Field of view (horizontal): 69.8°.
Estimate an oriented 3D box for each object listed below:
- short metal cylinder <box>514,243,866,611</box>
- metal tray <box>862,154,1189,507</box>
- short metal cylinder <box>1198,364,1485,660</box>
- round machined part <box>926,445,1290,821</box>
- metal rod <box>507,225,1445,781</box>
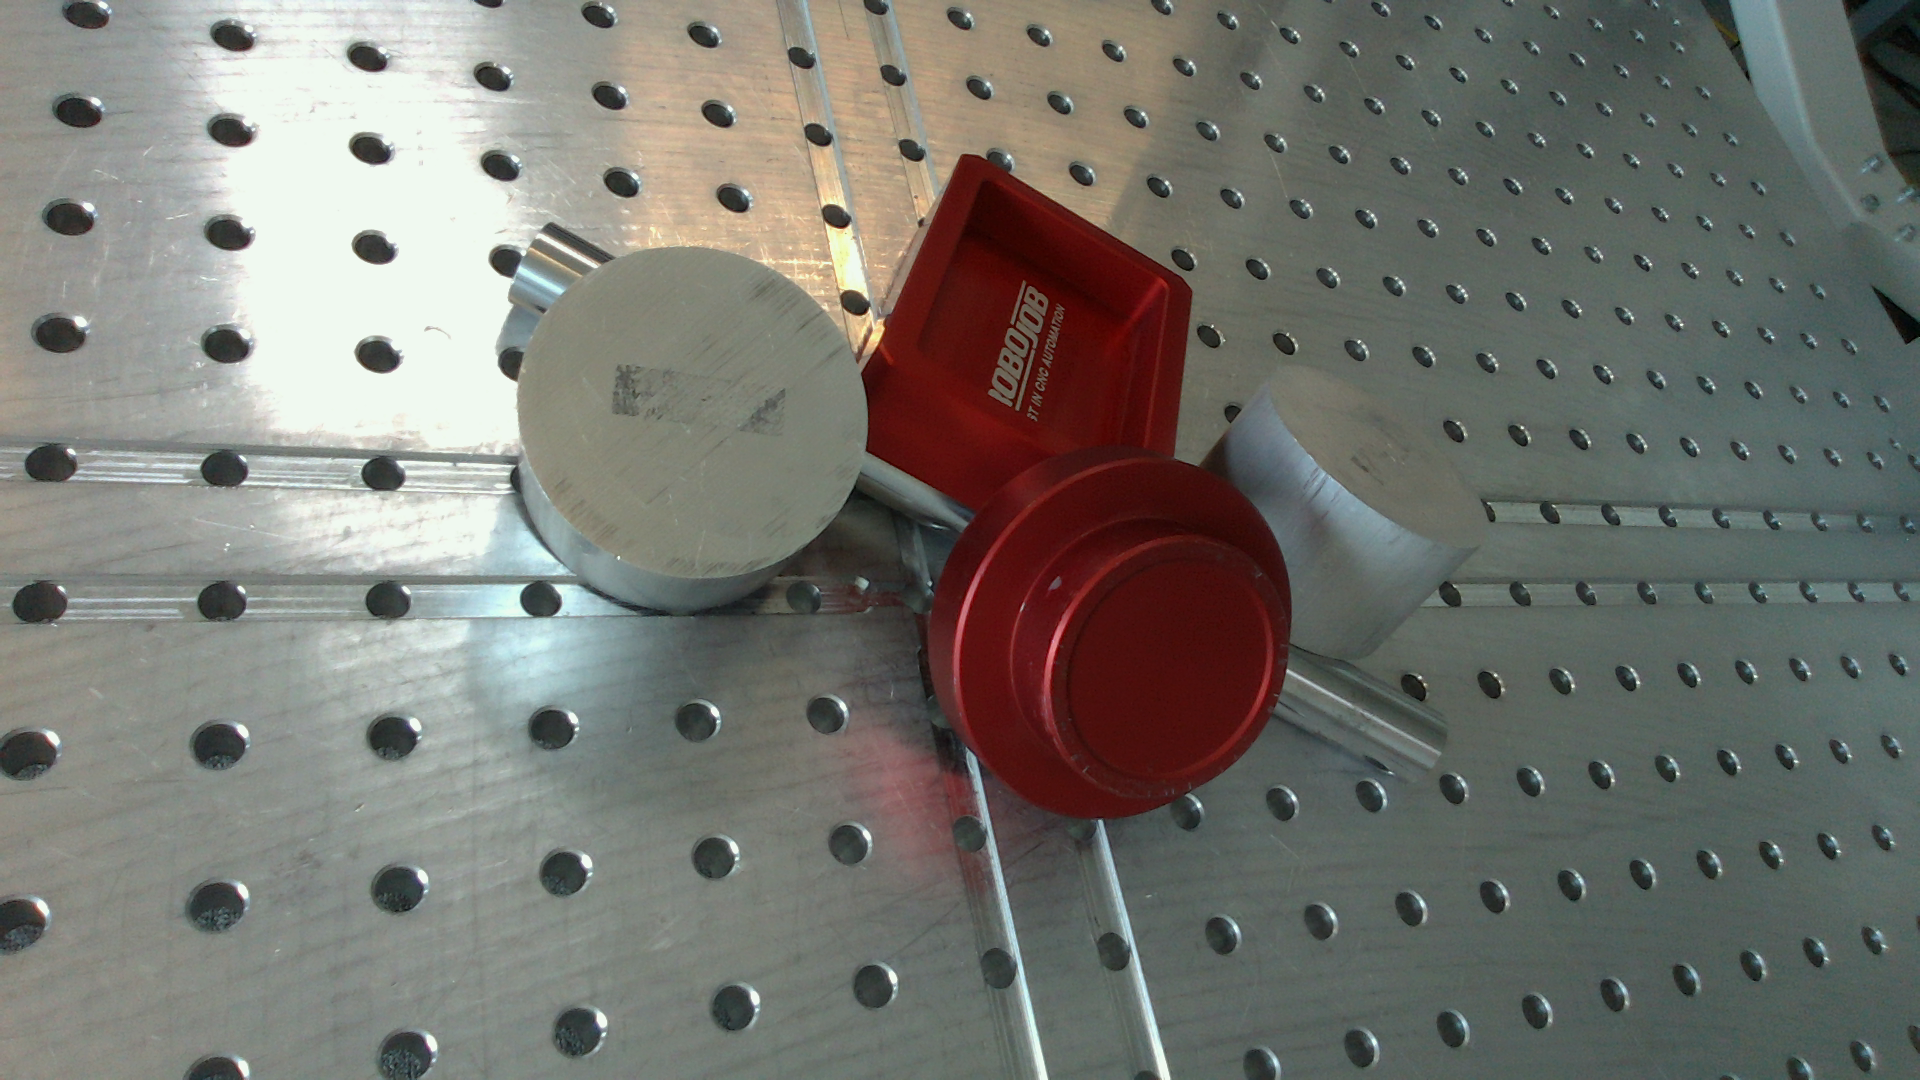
[{"bbox_3d":[-0.068,-0.026,0.340,0.080,0.050,0.080,4,77,-17],"label":"short metal cylinder"},{"bbox_3d":[0.021,-0.059,0.418,0.090,0.030,0.130,28,39,-10],"label":"metal tray"},{"bbox_3d":[0.114,-0.010,0.428,0.080,0.050,0.080,24,33,-17],"label":"short metal cylinder"},{"bbox_3d":[0.044,0.027,0.354,0.098,0.042,0.098,-6,106,-21],"label":"round machined part"},{"bbox_3d":[0.013,-0.006,0.403,0.300,0.025,0.025,28,52,-10],"label":"metal rod"}]
